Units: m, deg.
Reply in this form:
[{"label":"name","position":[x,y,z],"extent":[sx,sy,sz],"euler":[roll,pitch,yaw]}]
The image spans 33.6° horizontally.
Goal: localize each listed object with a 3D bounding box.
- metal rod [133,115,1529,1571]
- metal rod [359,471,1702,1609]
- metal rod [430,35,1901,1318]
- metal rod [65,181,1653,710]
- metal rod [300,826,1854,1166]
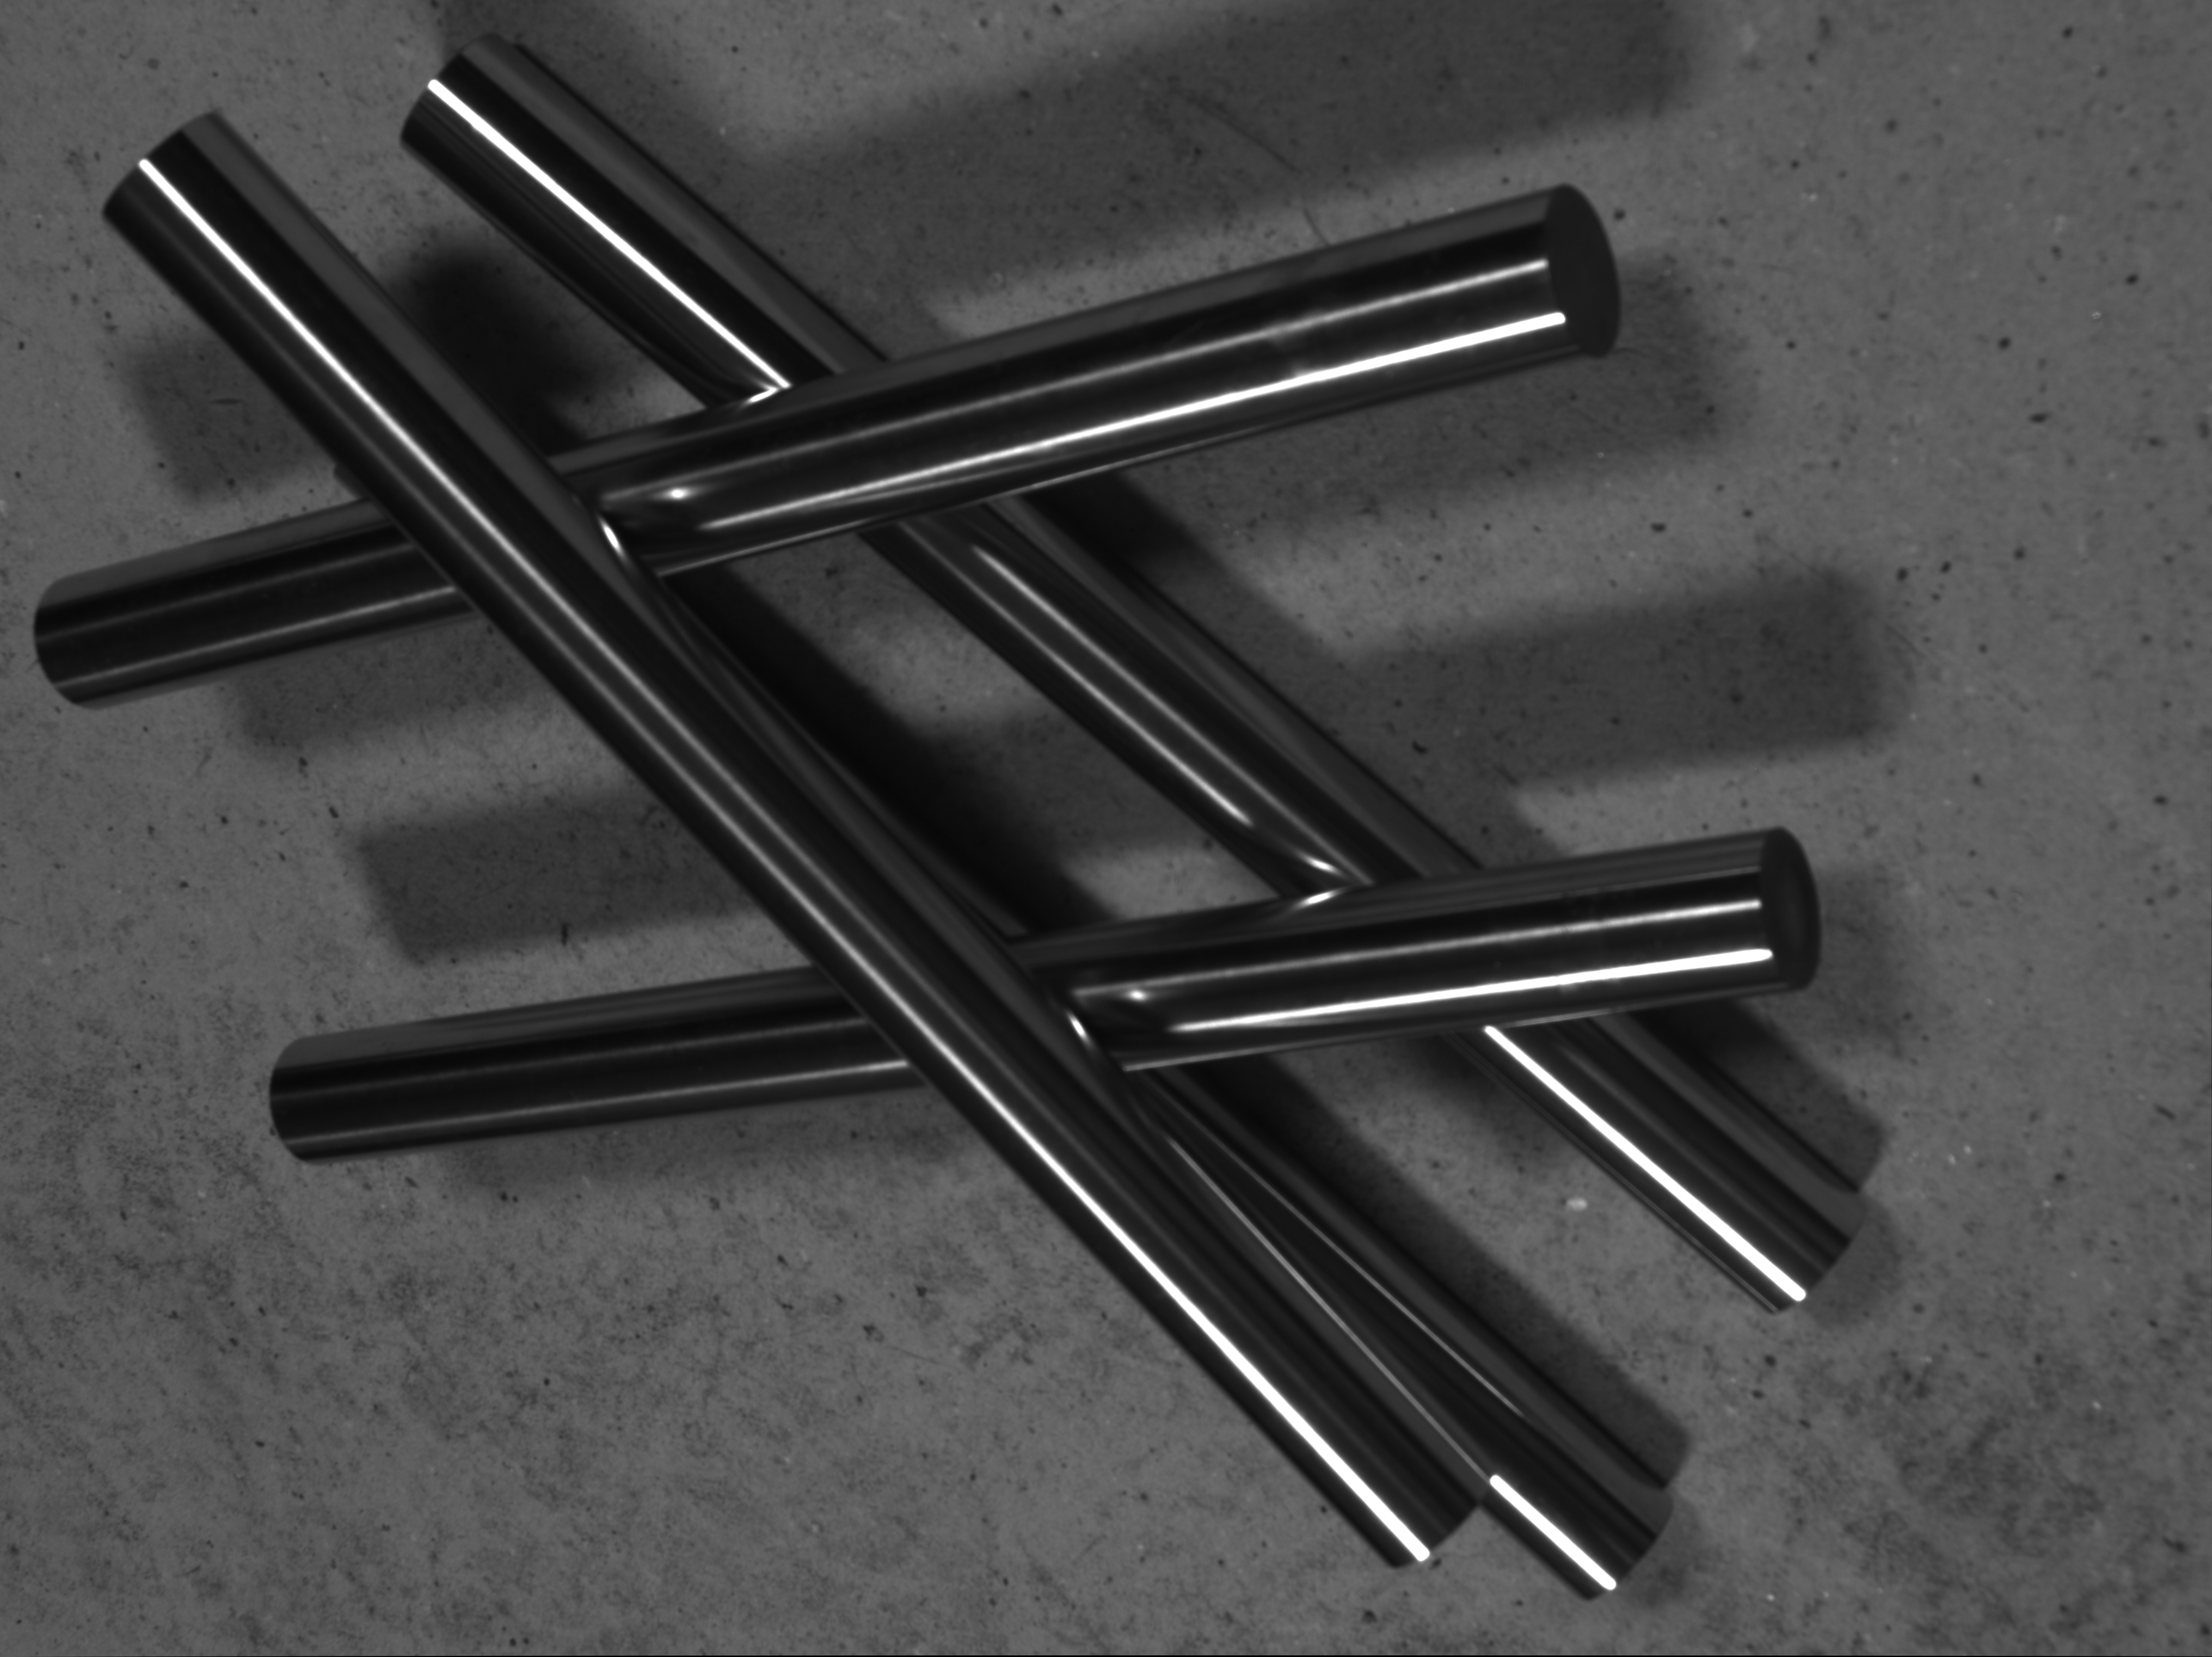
[{"label":"metal rod","position":[-0.042,0.005,0.592],"extent":[0.300,0.025,0.025],"euler":[47,128,-6]},{"label":"metal rod","position":[-0.013,0.031,0.655],"extent":[0.300,0.025,0.025],"euler":[42,128,-2]},{"label":"metal rod","position":[0.010,-0.025,0.611],"extent":[0.300,0.025,0.025],"euler":[40,128,0]},{"label":"metal rod","position":[-0.055,-0.057,0.593],"extent":[0.299,0.025,0.025],"euler":[-10,113,31]},{"label":"metal rod","position":[-0.019,0.032,0.629],"extent":[0.299,0.025,0.025],"euler":[-9,114,30]}]
